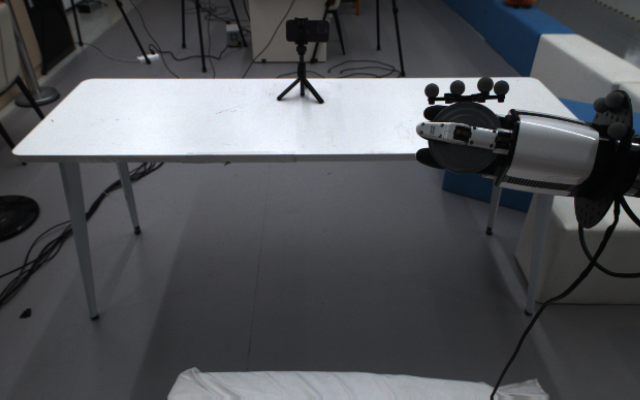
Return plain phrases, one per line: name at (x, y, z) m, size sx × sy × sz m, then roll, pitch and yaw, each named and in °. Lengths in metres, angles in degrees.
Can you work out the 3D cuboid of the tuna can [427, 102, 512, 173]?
tuna can at (0.177, -0.076, 0.591) m, size 0.085 × 0.085 × 0.034 m, roll 12°, pitch 8°, yaw 15°
